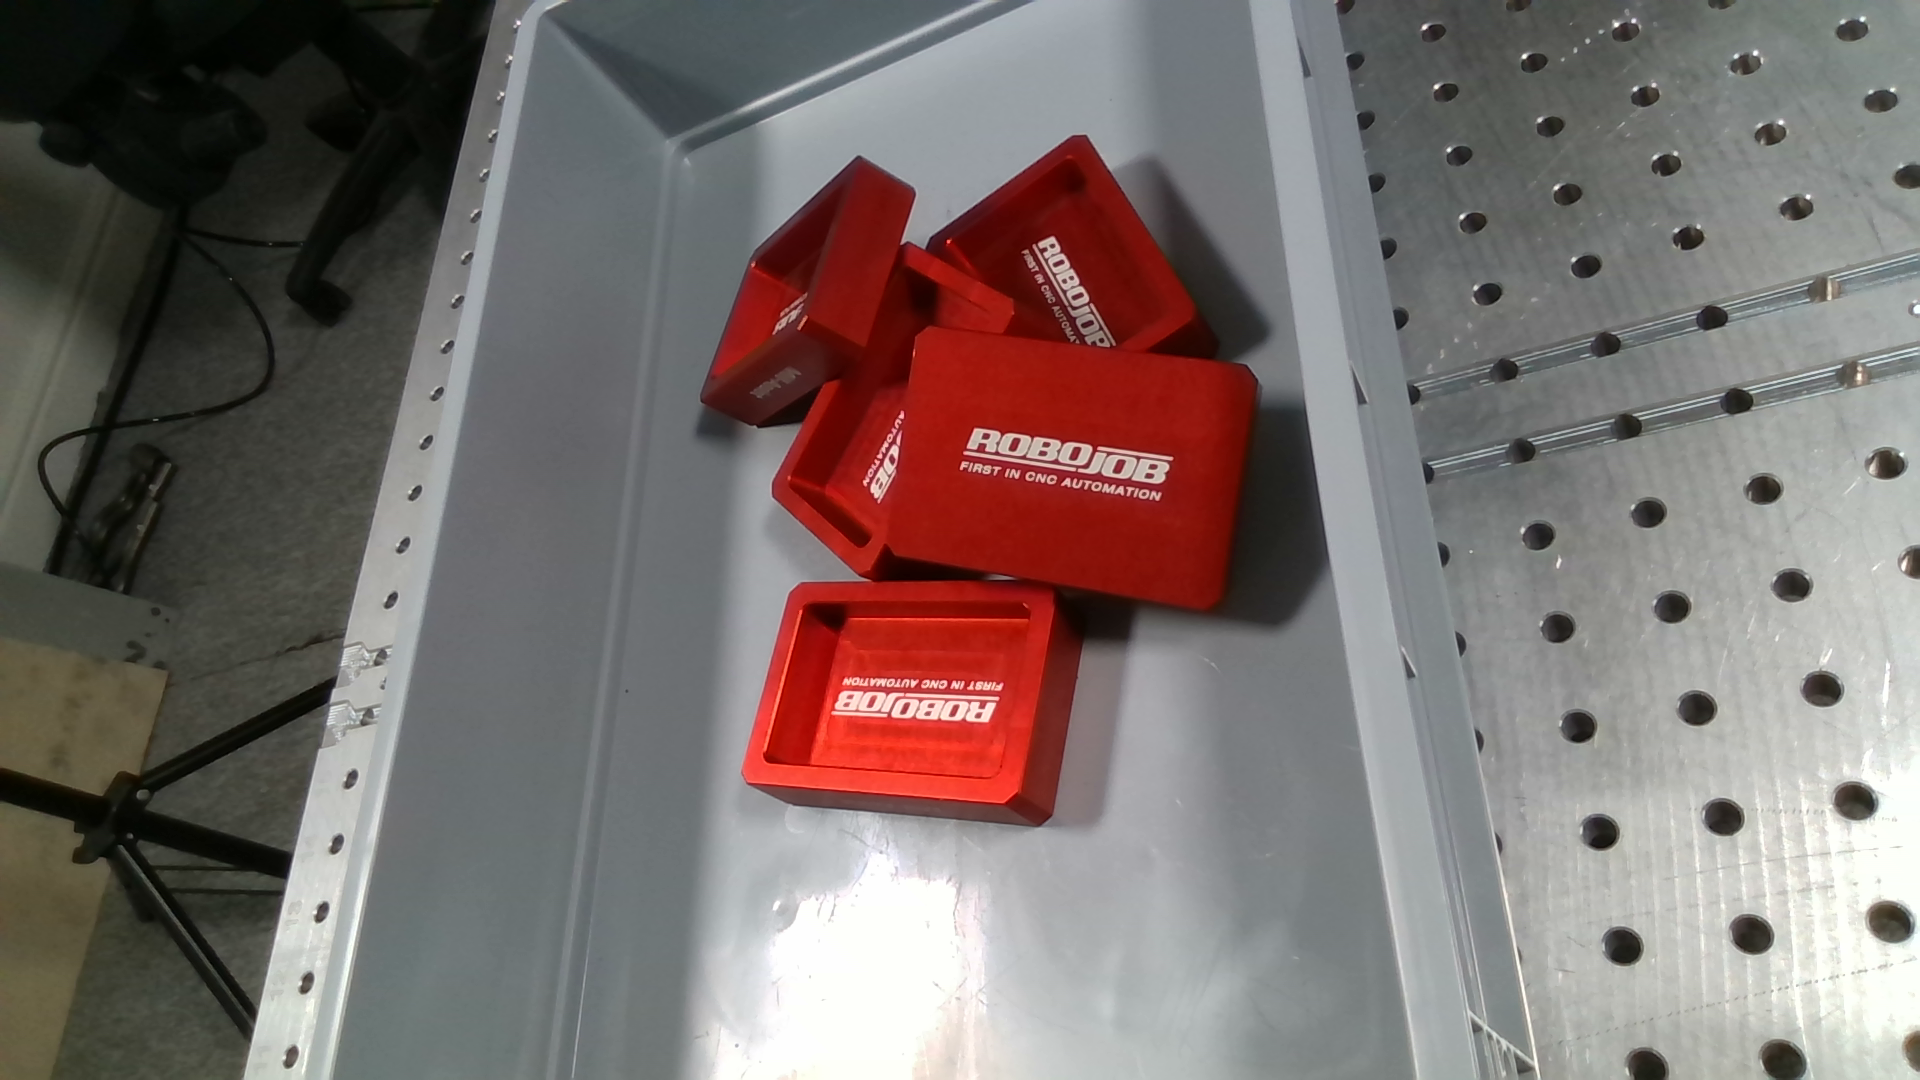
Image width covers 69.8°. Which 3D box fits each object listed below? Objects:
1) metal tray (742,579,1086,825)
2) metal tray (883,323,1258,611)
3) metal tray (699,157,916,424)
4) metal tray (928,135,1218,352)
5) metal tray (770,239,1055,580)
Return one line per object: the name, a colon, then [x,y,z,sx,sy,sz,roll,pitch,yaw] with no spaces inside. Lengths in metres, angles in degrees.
metal tray: [-0.020,0.063,0.559,0.130,0.030,0.090,-2,65,31]
metal tray: [0.042,-0.029,0.526,0.130,0.030,0.090,10,94,15]
metal tray: [-0.075,-0.114,0.650,0.130,0.030,0.090,-17,52,58]
metal tray: [0.046,-0.110,0.611,0.090,0.030,0.130,-33,53,13]
metal tray: [-0.024,-0.055,0.597,0.090,0.030,0.130,39,104,46]
